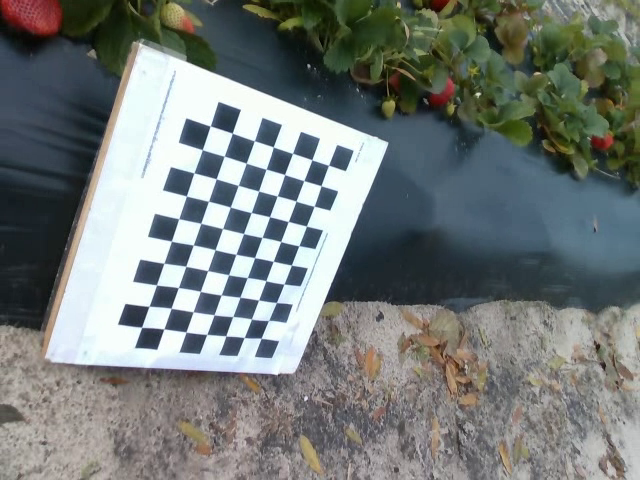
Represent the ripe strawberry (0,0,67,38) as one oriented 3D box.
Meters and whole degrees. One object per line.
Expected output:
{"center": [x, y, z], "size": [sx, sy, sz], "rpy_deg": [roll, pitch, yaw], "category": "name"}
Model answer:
{"center": [-0.179, -0.144, 0.361], "size": [0.037, 0.046, 0.037], "rpy_deg": [-30, -17, -13], "category": "ripe strawberry"}
